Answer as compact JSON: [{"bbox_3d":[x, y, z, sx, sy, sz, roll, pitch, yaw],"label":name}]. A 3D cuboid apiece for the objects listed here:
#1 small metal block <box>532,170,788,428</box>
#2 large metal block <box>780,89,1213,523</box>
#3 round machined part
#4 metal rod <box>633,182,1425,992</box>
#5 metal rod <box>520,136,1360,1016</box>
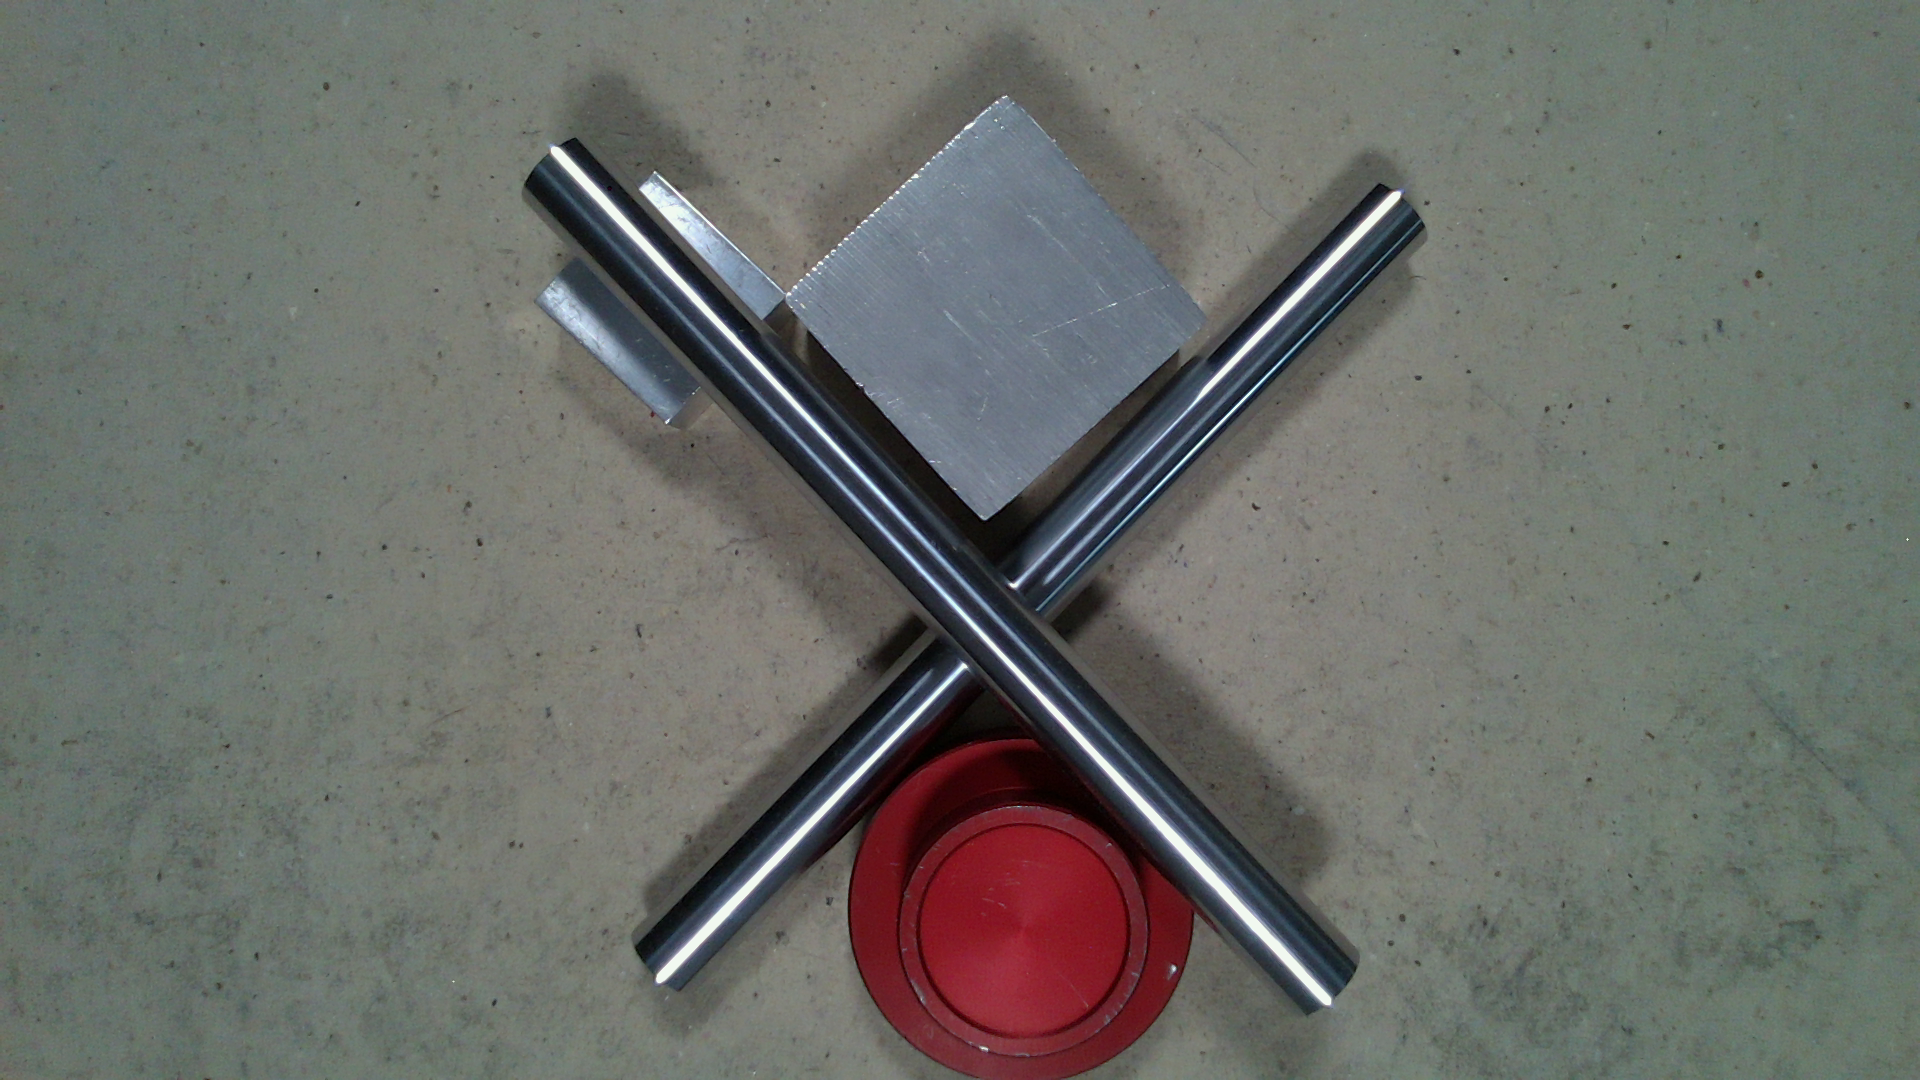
[{"bbox_3d":[-0.084,-0.068,0.396,0.050,0.025,0.050,43,90,0],"label":"small metal block"},{"bbox_3d":[0.010,-0.061,0.384,0.080,0.050,0.080,-42,90,0],"label":"large metal block"},{"bbox_3d":[0.017,0.104,0.387,0.098,0.042,0.098,0,90,0],"label":"round machined part"},{"bbox_3d":[0.020,0.013,0.397,0.025,0.025,0.300,44,90,0],"label":"metal rod"},{"bbox_3d":[-0.005,0.010,0.370,0.025,0.025,0.300,-43,90,0],"label":"metal rod"}]
